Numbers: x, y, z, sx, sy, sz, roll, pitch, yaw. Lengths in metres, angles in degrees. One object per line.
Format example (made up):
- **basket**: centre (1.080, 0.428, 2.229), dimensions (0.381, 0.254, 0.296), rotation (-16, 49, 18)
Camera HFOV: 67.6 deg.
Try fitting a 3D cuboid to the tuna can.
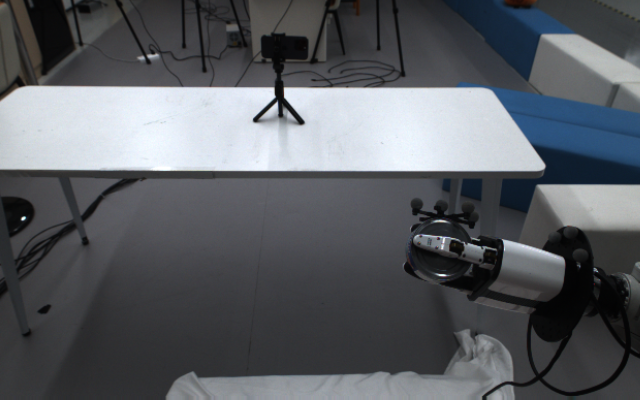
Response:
- **tuna can**: centre (0.163, 0.064, 0.658), dimensions (0.085, 0.034, 0.085), rotation (1, 74, -4)
